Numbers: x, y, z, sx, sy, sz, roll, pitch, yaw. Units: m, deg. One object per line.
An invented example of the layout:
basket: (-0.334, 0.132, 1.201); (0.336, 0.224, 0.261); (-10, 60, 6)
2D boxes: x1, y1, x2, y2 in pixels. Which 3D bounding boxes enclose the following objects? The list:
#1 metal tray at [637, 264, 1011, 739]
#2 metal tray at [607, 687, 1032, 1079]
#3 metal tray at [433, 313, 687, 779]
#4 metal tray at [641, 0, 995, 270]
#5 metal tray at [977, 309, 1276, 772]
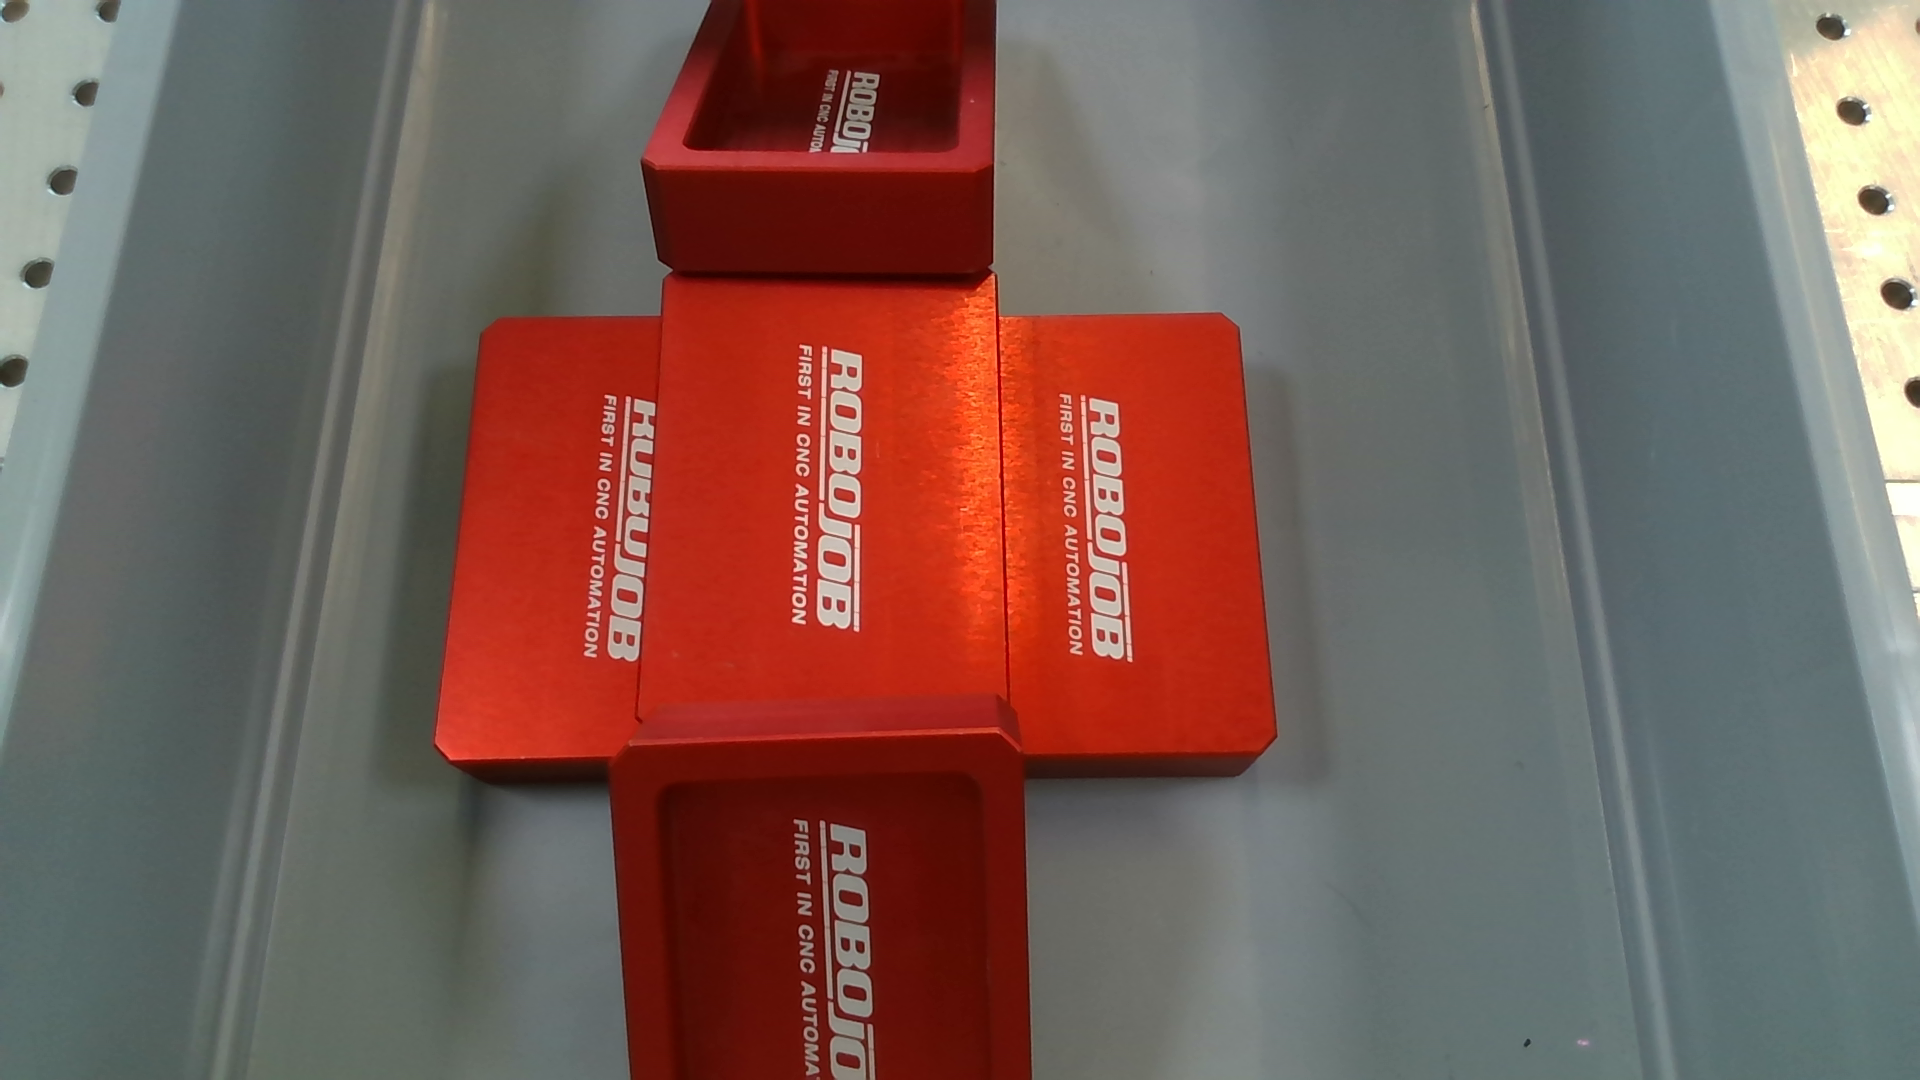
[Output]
metal tray: (-0.034, -0.010, 0.363); (0.090, 0.030, 0.130); (-1, 71, -1)
metal tray: (-0.029, 0.102, 0.322); (0.090, 0.030, 0.130); (-2, 100, 0)
metal tray: (-0.093, 0.000, 0.390); (0.090, 0.030, 0.130); (-1, 71, 0)
metal tray: (-0.035, -0.125, 0.404); (0.090, 0.030, 0.130); (0, 41, 1)
metal tray: (0.037, -0.001, 0.391); (0.090, 0.030, 0.130); (-1, 71, 0)
